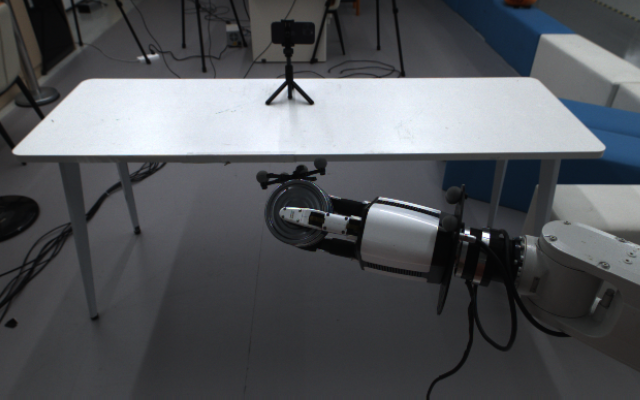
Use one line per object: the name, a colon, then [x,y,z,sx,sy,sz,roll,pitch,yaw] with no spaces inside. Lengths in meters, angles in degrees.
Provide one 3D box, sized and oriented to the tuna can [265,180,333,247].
tuna can: [-0.022,0.022,0.618,0.085,0.085,0.034,12,-6,14]
